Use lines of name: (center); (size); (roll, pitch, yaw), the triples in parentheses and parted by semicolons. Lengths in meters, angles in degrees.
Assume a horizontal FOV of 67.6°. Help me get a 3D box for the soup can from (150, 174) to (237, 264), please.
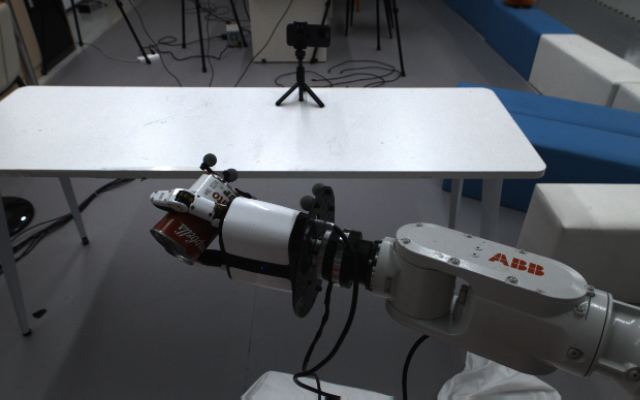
soup can: (-0.155, 0.023, 0.614); (0.067, 0.067, 0.101); (23, 61, 27)
